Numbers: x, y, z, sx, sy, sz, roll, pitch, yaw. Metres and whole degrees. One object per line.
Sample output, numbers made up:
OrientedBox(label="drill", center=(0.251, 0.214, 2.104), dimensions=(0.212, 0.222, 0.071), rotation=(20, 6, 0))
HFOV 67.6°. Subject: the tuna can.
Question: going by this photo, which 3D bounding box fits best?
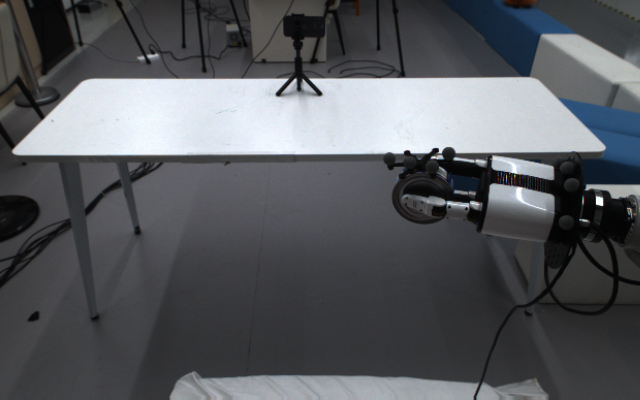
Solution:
OrientedBox(label="tuna can", center=(0.148, -0.011, 0.687), dimensions=(0.085, 0.085, 0.034), rotation=(10, 33, 11))
